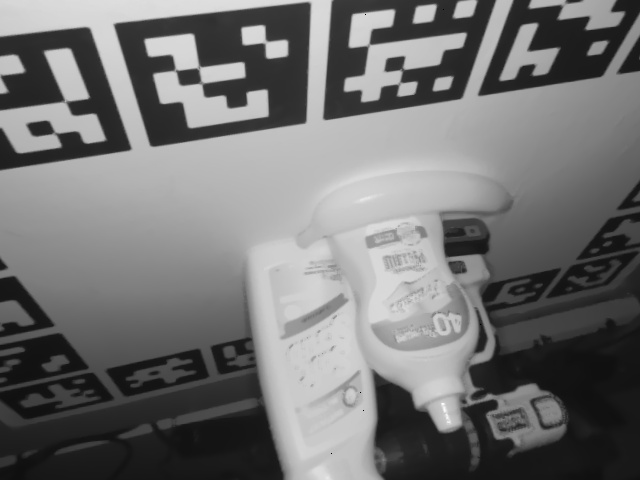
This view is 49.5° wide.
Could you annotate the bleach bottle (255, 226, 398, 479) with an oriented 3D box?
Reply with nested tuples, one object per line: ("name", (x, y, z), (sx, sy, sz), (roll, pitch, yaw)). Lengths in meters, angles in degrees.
("bleach bottle", (0.014, 0.112, 0.564), (0.103, 0.251, 0.067), (-8, 150, -12))

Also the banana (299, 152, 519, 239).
("banana", (0.081, -0.041, 0.573), (0.199, 0.039, 0.073), (-9, 143, -16))

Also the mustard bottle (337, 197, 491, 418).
("mustard bottle", (0.079, 0.047, 0.544), (0.097, 0.192, 0.058), (-9, 145, -9))

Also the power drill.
("power drill", (0.121, 0.098, 0.597), (0.186, 0.188, 0.056), (-1, 144, -19))
